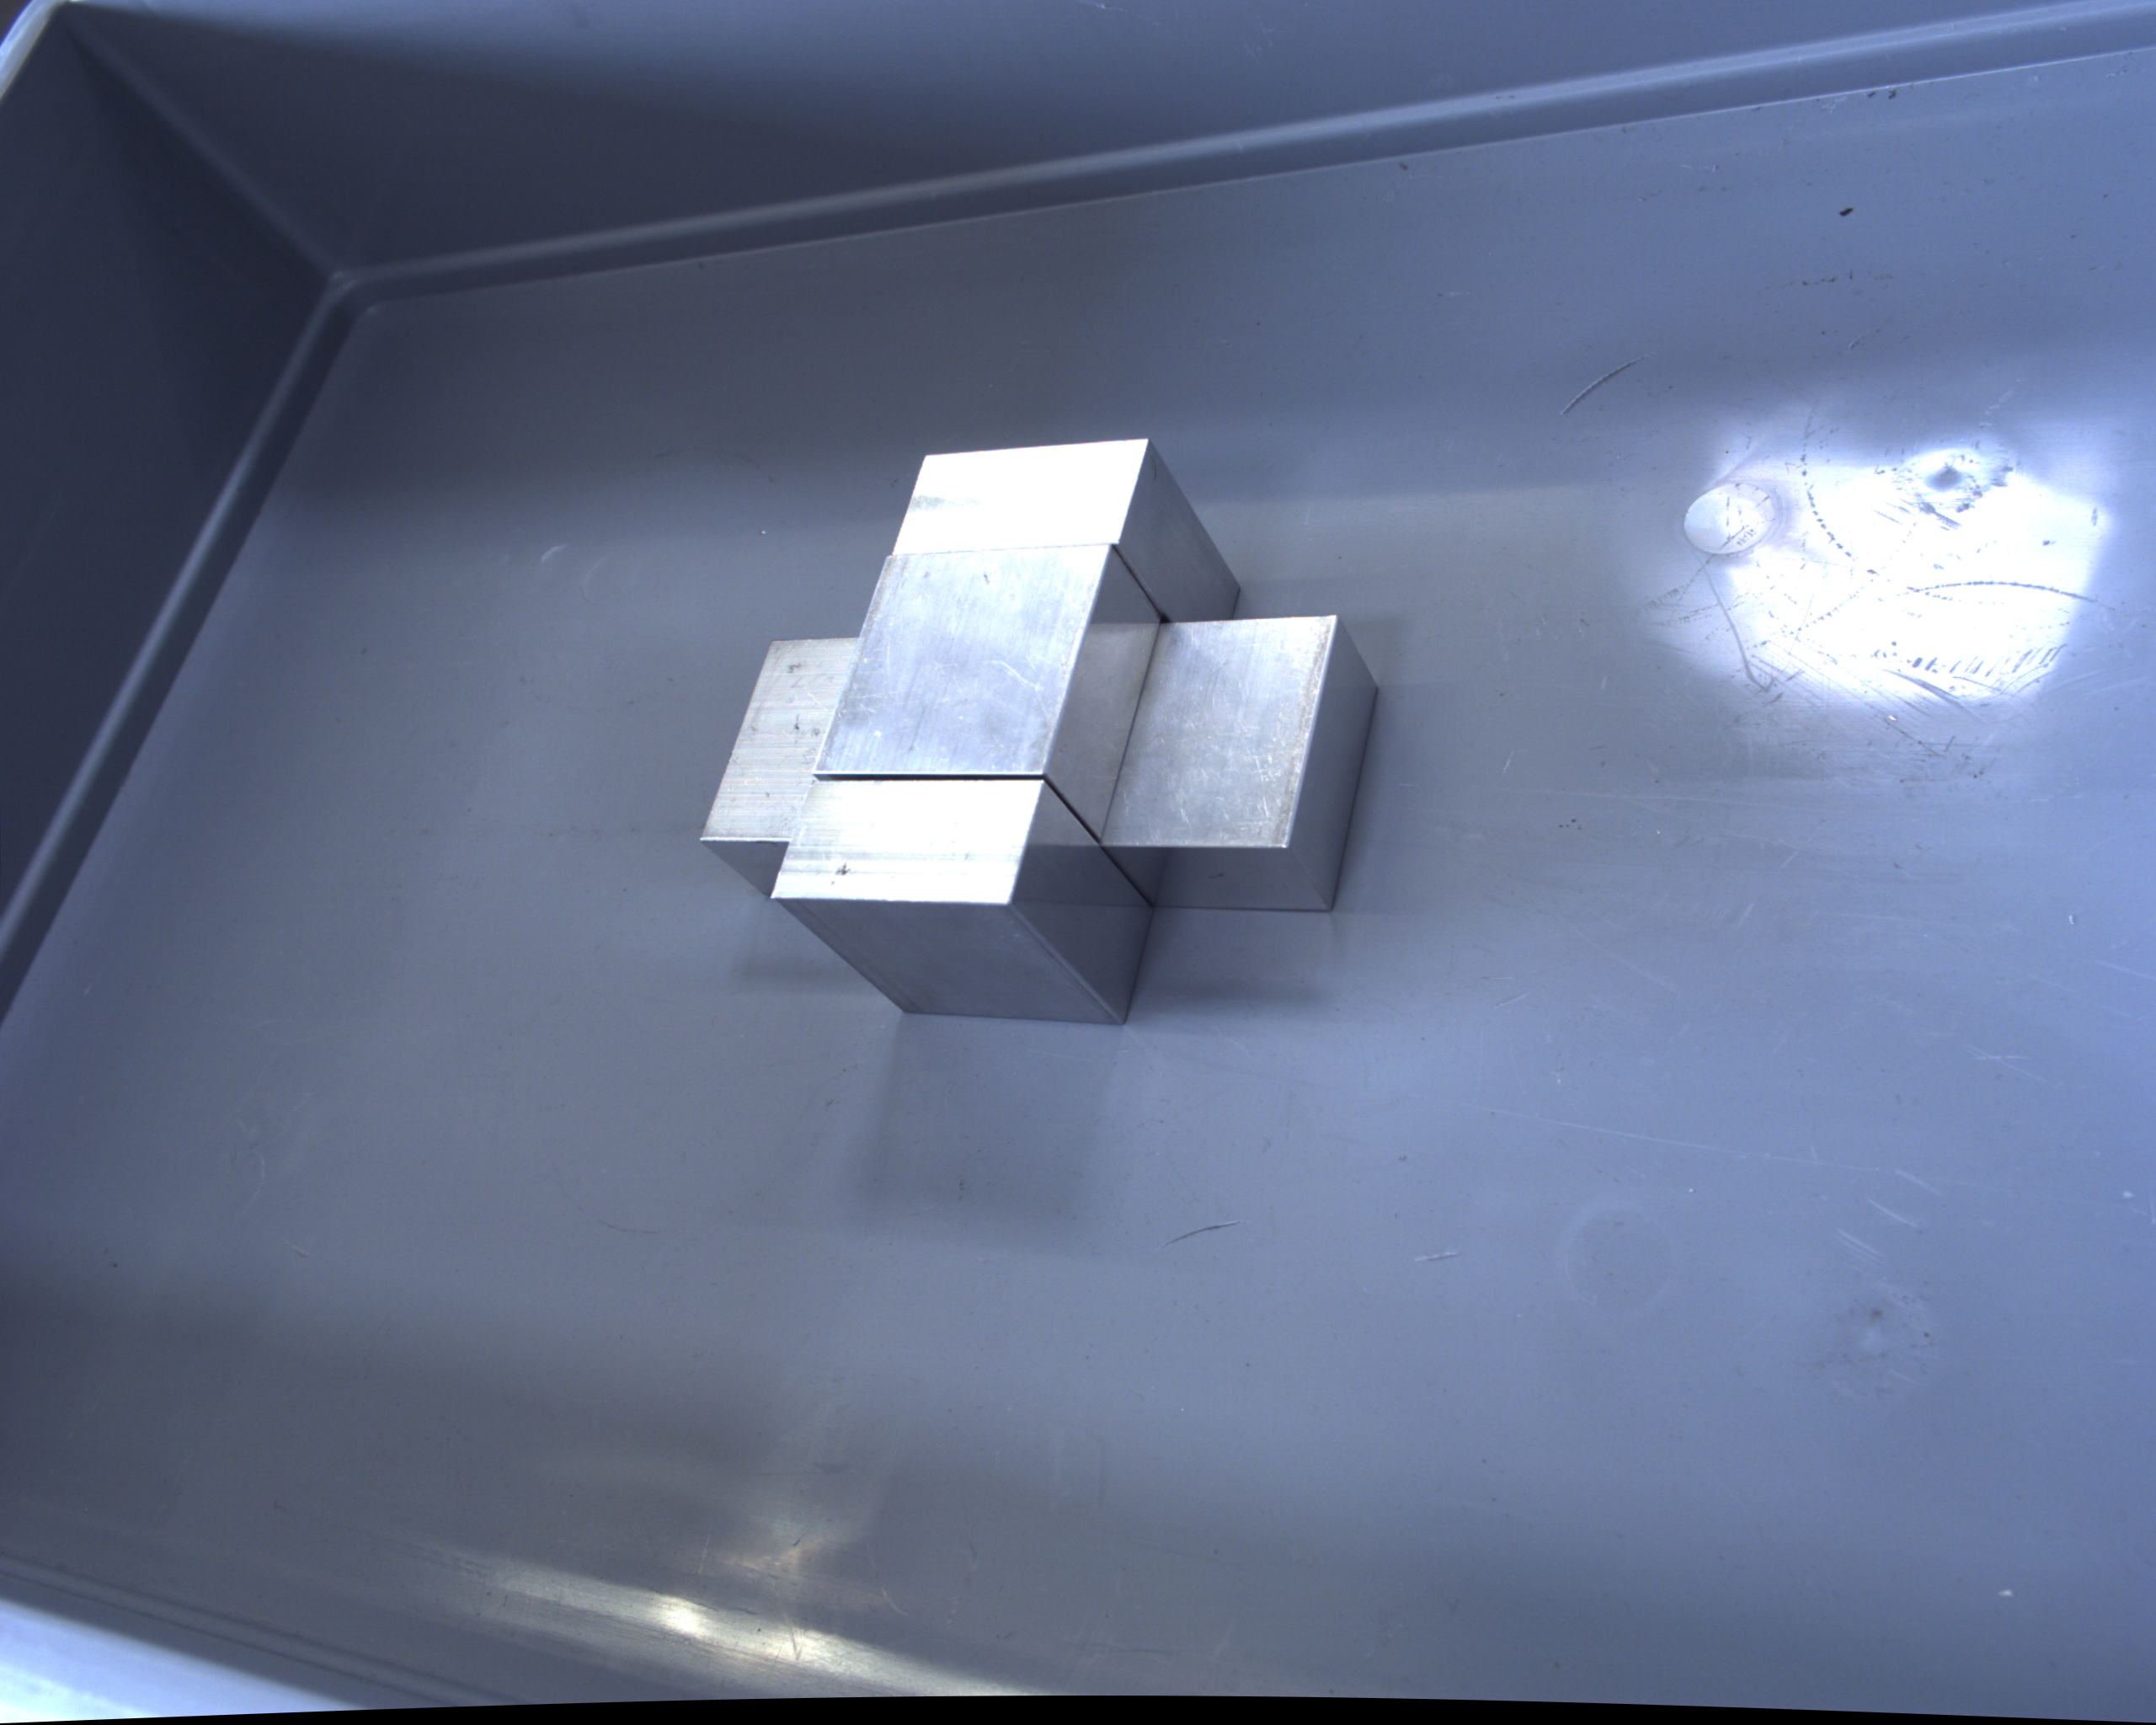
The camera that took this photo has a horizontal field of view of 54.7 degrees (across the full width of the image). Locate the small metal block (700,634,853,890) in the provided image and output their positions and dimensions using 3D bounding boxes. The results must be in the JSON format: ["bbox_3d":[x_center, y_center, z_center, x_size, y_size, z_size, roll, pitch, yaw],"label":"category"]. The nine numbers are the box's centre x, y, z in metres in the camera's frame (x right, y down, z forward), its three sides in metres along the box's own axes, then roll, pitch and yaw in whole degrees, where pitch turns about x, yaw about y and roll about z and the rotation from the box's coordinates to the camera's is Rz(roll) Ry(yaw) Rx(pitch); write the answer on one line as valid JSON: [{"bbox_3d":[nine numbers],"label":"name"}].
[{"bbox_3d":[-0.045,-0.021,0.439,0.050,0.025,0.050,1,62,28],"label":"small metal block"}]

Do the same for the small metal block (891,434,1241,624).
[{"bbox_3d":[-0.001,-0.059,0.424,0.050,0.050,0.025,1,62,28],"label":"small metal block"}]

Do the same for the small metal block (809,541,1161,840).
[{"bbox_3d":[-0.017,-0.032,0.399,0.050,0.025,0.050,1,62,28],"label":"small metal block"}]

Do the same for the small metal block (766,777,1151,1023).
[{"bbox_3d":[-0.021,0.007,0.393,0.050,0.050,0.025,1,62,28],"label":"small metal block"}]

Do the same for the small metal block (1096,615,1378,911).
[{"bbox_3d":[0.026,-0.019,0.402,0.050,0.025,0.050,1,62,28],"label":"small metal block"}]
